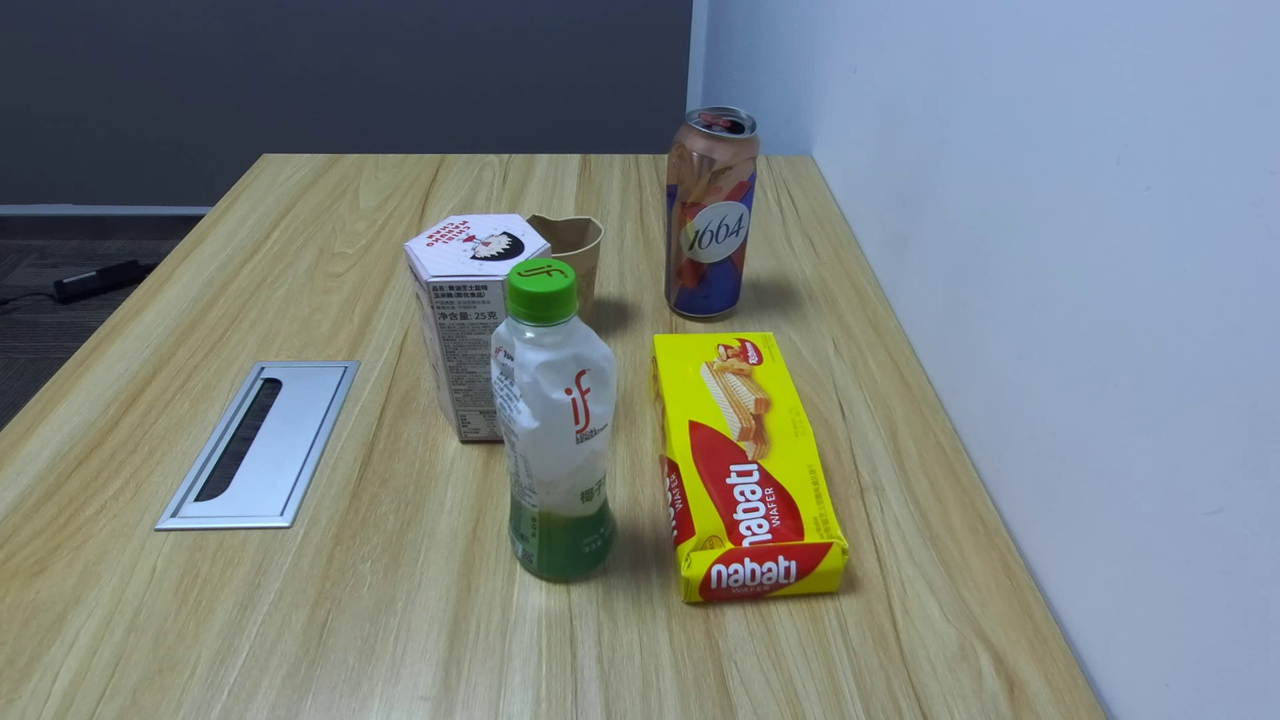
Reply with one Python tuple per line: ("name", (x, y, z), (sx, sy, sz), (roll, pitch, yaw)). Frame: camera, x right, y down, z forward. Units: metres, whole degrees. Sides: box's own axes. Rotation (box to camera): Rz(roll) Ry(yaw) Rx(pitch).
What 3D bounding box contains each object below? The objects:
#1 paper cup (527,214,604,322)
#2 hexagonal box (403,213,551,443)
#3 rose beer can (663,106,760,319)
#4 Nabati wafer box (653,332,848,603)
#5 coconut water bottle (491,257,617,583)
("paper cup", (-0.065, -0.069, 0.584), (0.068, 0.081, 0.073), (27, 45, 27))
("hexagonal box", (-0.102, -0.019, 0.477), (0.083, 0.136, 0.091), (19, 42, 22))
("rose beer can", (0.058, -0.113, 0.572), (0.076, 0.167, 0.065), (-15, 43, -23))
("Nabati wafer box", (0.063, 0.057, 0.464), (0.096, 0.042, 0.203), (-1, 40, -4))
("coconut water bottle", (-0.045, 0.036, 0.371), (0.067, 0.187, 0.067), (0, 37, 0))
